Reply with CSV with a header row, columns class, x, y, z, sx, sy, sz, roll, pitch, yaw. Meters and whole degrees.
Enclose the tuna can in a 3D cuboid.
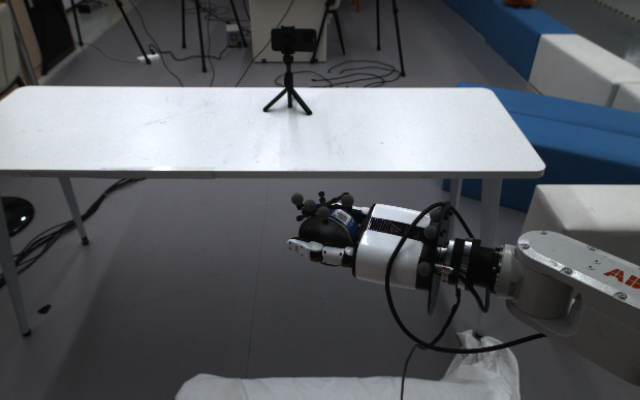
class,x,y,z,sx,sy,sz,roll,pitch,yaw
tuna can,0.016,0.050,0.696,0.085,0.085,0.034,17,36,20
